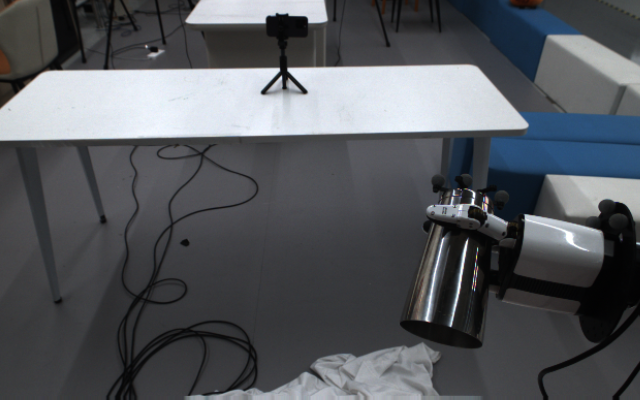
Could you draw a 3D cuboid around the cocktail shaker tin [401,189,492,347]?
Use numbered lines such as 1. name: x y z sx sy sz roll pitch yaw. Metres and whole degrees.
1. cocktail shaker tin: 0.160 0.072 0.568 0.093 0.093 0.170 13 65 15
